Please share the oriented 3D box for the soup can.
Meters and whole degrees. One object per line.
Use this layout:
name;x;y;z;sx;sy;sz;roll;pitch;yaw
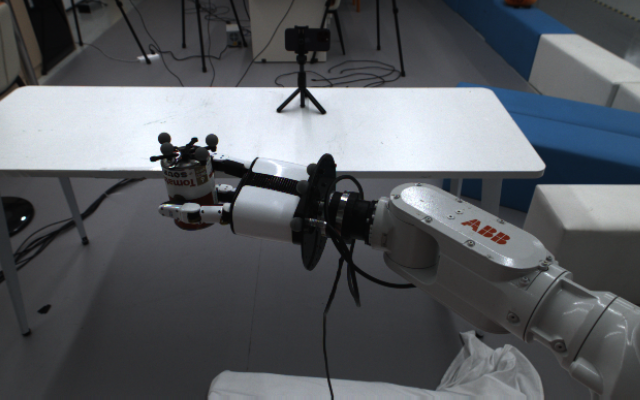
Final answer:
soup can;-0.181;-0.016;0.686;0.067;0.101;0.067;-2;33;1
